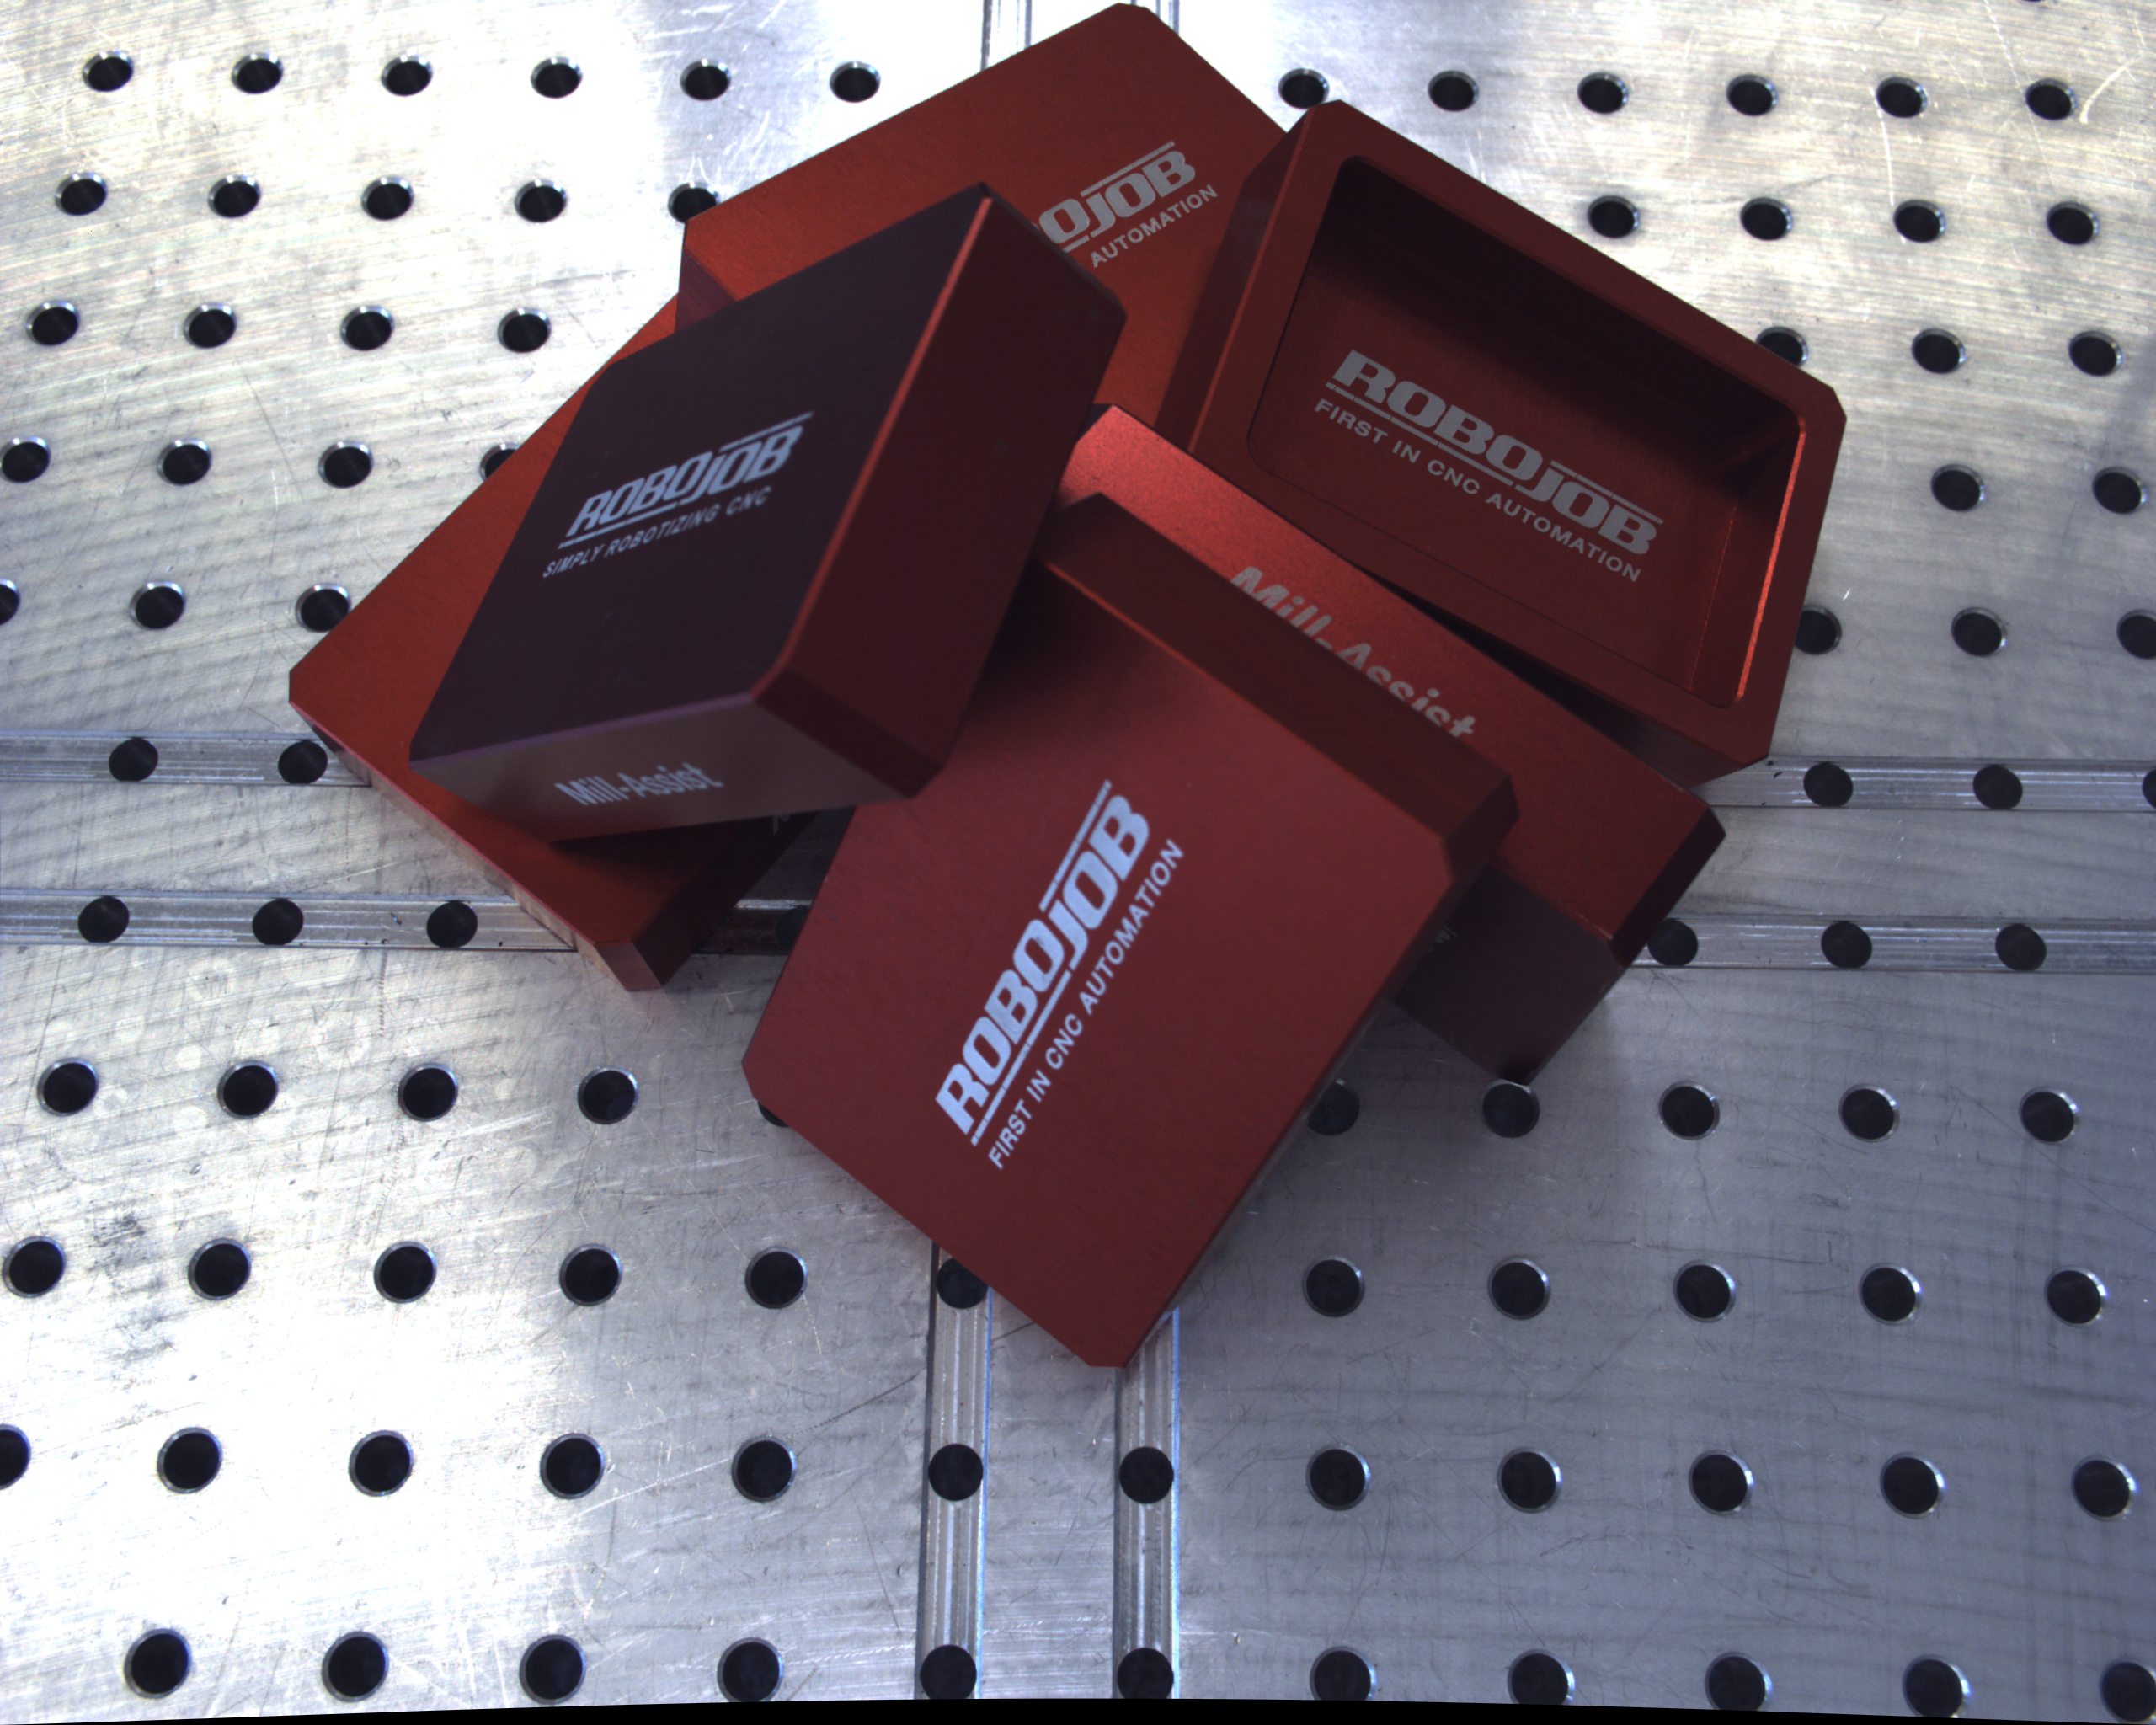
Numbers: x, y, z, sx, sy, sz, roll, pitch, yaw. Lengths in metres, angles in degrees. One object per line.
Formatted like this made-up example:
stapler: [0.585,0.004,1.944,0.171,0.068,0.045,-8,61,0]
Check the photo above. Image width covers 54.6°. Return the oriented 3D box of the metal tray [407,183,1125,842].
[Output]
metal tray: [-0.057,-0.052,0.350,0.030,0.130,0.090,34,67,-33]

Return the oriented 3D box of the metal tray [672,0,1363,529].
metal tray: [-0.006,-0.118,0.433,0.131,0.030,0.090,-38,77,-27]

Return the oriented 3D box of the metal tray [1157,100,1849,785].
metal tray: [0.084,-0.079,0.413,0.131,0.030,0.090,24,71,-15]

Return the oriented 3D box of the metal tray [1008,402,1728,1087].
metal tray: [0.045,-0.018,0.383,0.130,0.090,0.030,37,74,12]

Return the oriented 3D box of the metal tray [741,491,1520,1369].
metal tray: [0.003,0.015,0.355,0.090,0.129,0.030,37,35,12]

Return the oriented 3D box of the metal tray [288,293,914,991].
metal tray: [-0.081,-0.050,0.427,0.090,0.030,0.130,37,74,11]
